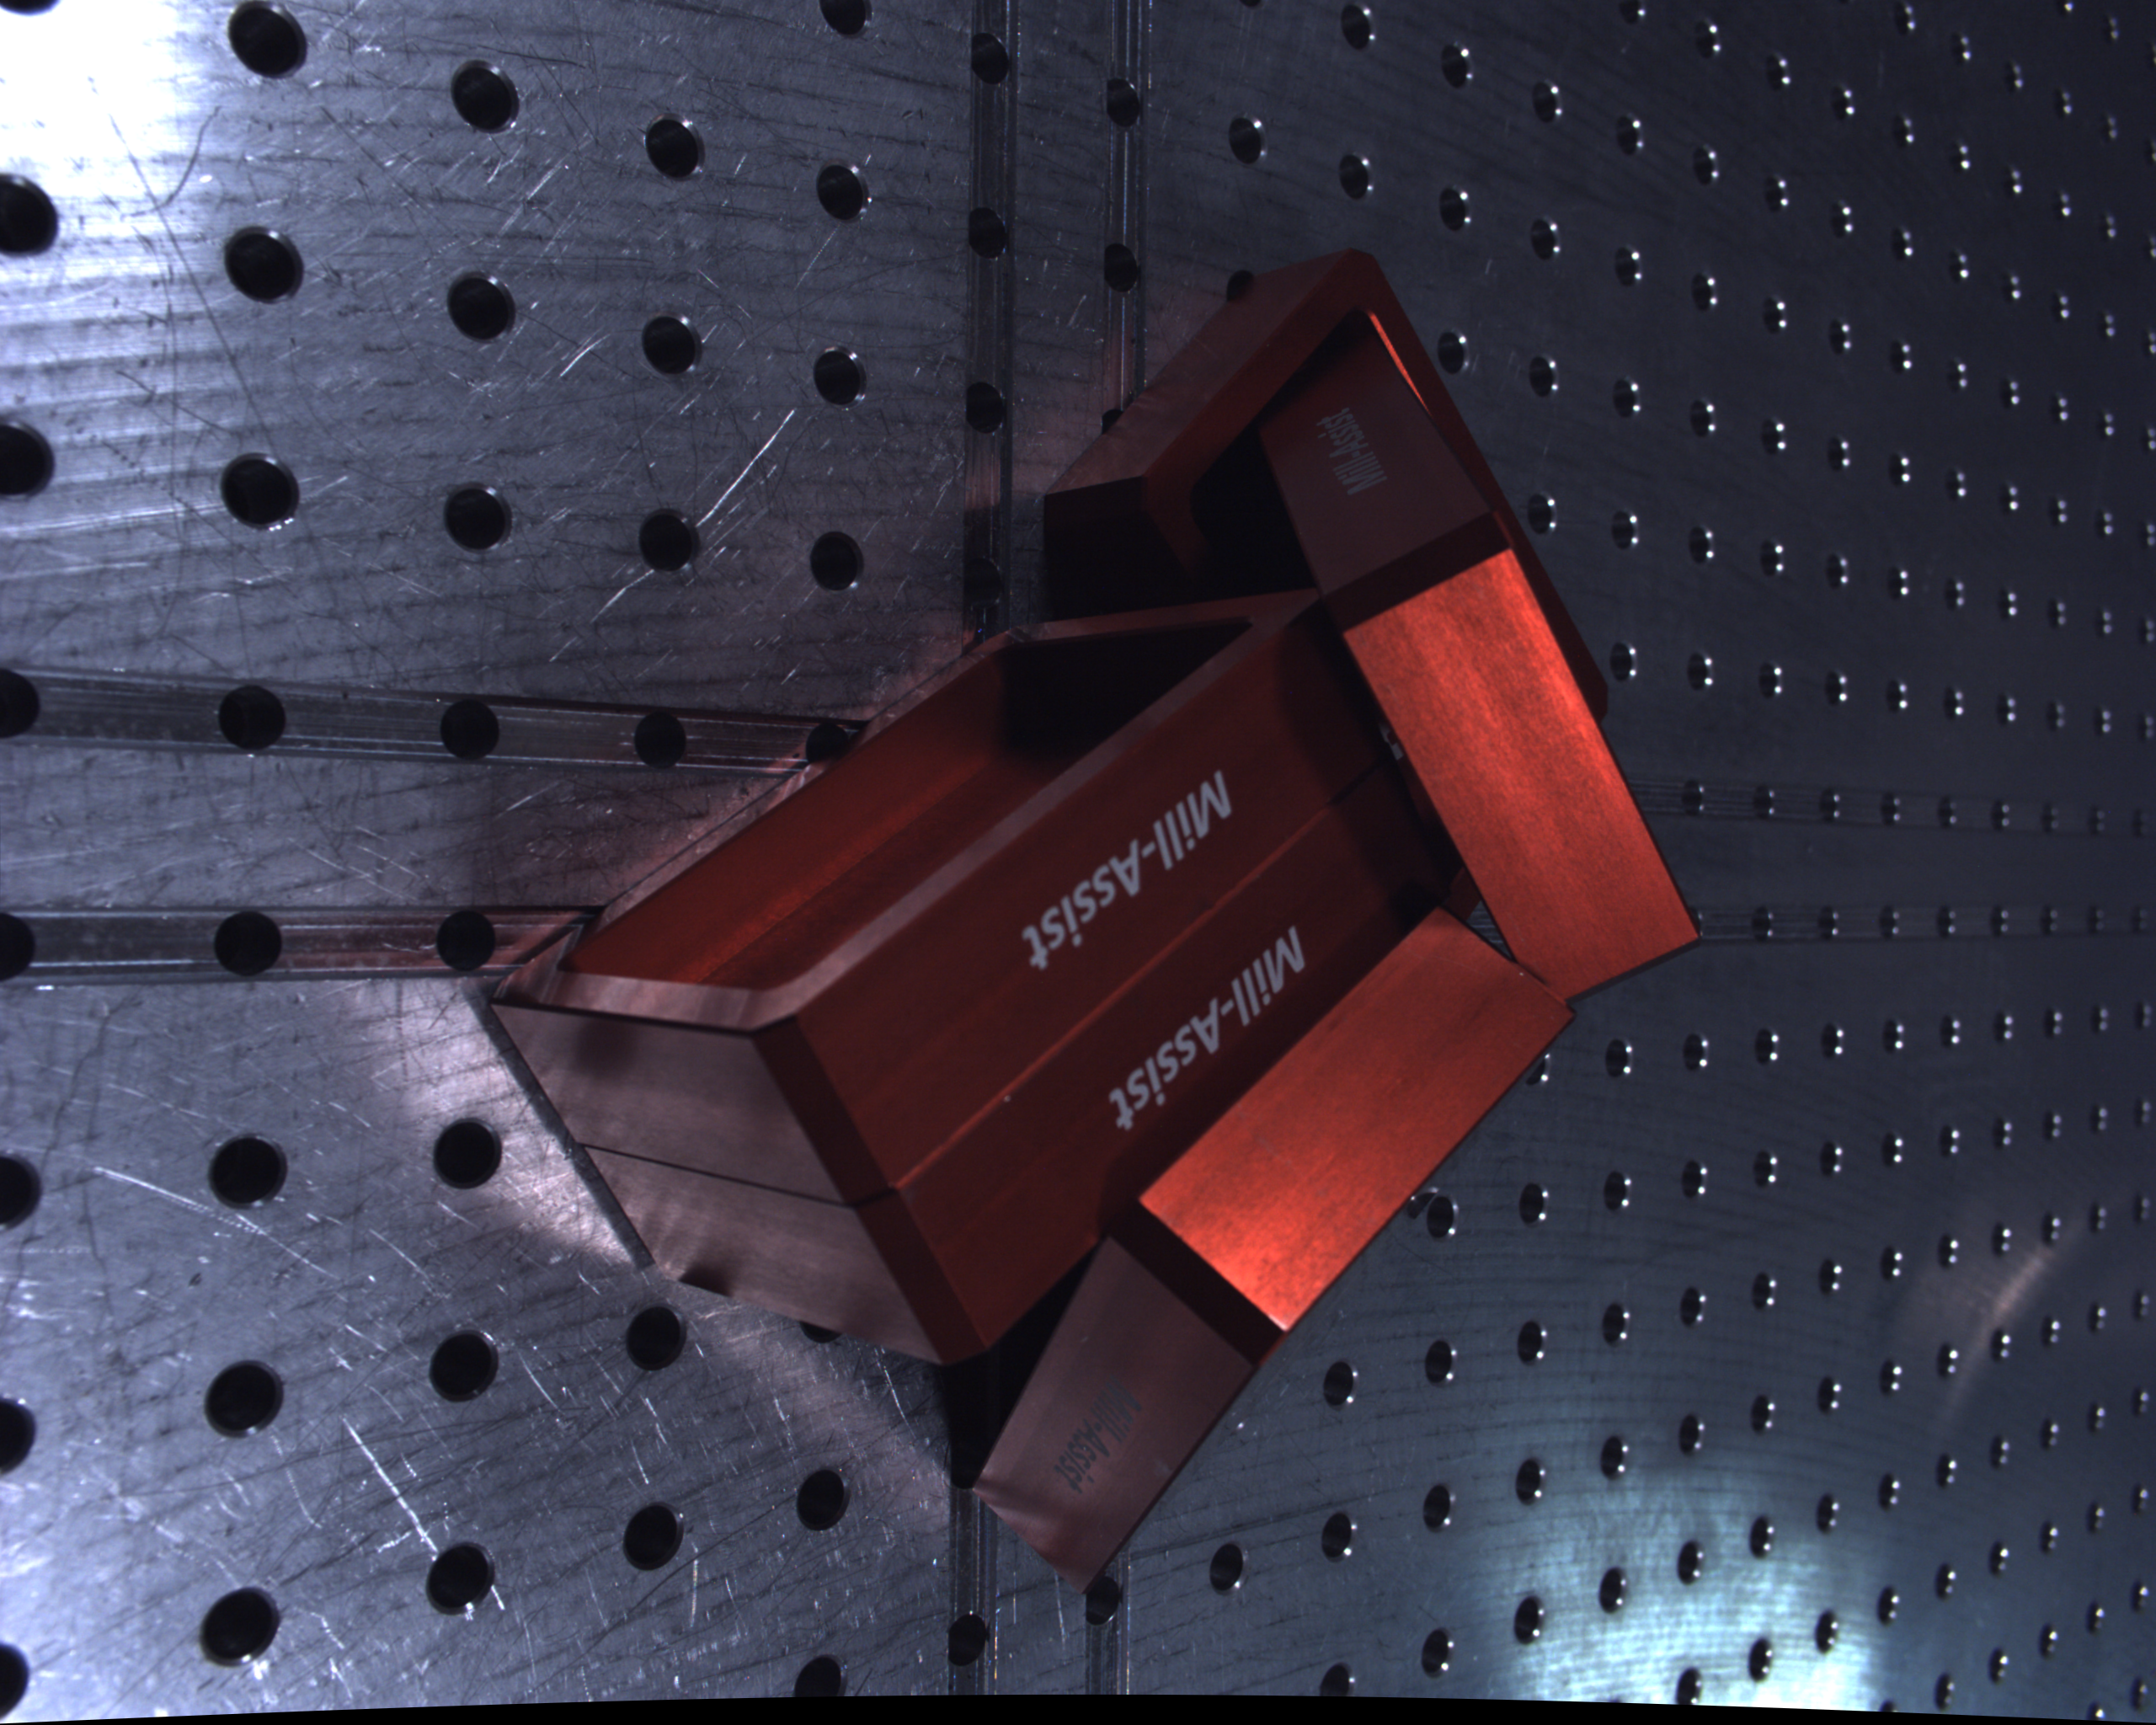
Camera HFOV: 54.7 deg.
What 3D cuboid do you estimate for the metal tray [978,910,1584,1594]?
[{"bbox_3d":[0.033,0.074,0.379,0.030,0.129,0.091,41,56,14],"label":"metal tray"}]

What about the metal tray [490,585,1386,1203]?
[{"bbox_3d":[-0.022,0.000,0.350,0.131,0.090,0.030,-40,115,-33],"label":"metal tray"}]

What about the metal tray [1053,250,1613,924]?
[{"bbox_3d":[0.061,-0.054,0.458,0.090,0.030,0.130,-51,120,-28],"label":"metal tray"}]

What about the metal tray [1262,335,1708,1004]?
[{"bbox_3d":[0.073,-0.041,0.398,0.090,0.030,0.130,58,12,-24],"label":"metal tray"}]

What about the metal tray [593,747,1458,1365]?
[{"bbox_3d":[-0.008,0.025,0.360,0.131,0.090,0.030,-40,115,-33],"label":"metal tray"}]
